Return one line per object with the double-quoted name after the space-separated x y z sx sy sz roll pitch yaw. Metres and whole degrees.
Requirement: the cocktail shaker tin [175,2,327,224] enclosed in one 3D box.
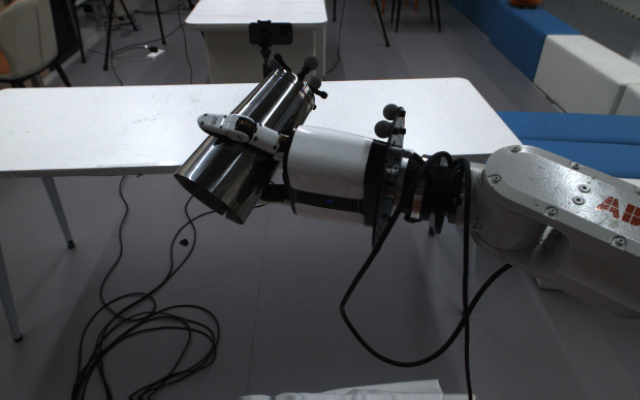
-0.077 -0.070 0.558 0.093 0.093 0.170 24 69 28 "cocktail shaker tin"
